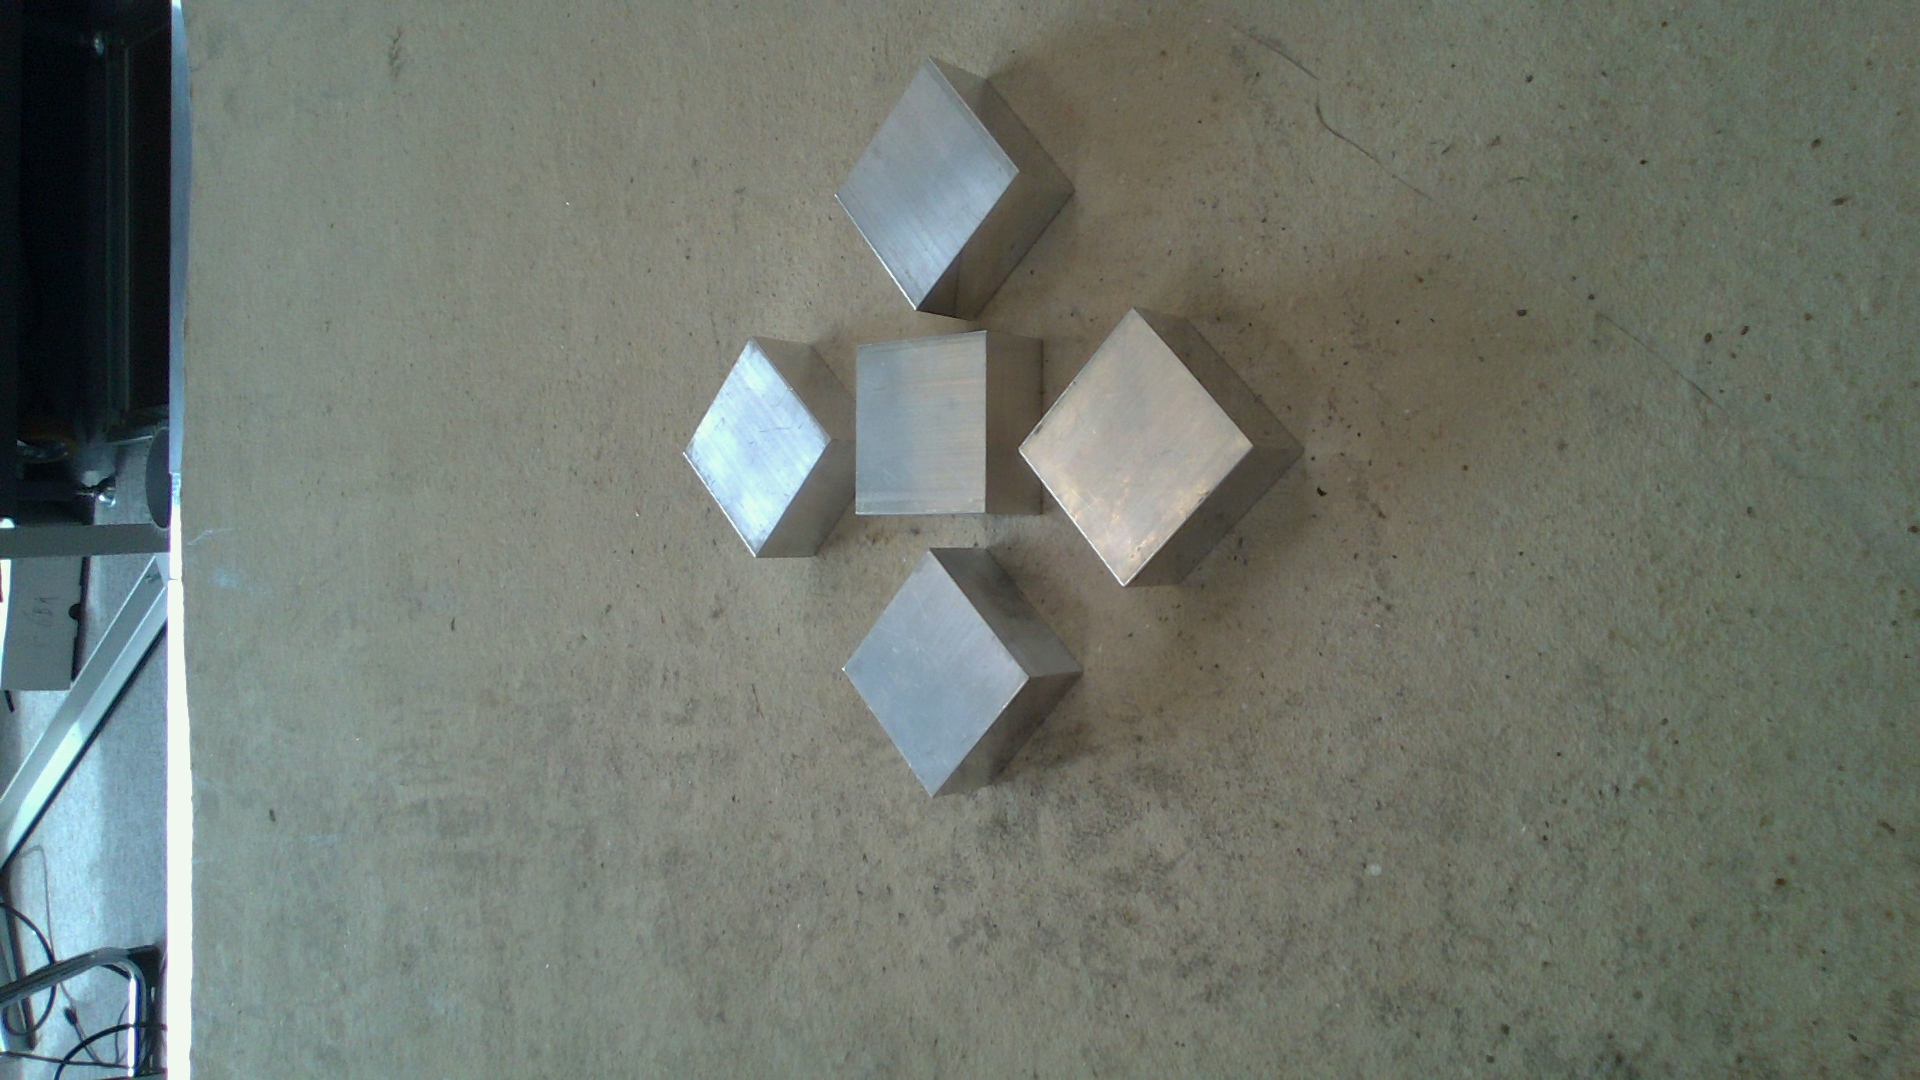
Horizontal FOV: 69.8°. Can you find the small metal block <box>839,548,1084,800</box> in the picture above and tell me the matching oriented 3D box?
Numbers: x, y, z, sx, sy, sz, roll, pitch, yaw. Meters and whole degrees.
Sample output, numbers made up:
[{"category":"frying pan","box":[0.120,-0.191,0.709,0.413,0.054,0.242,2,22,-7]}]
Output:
[{"category":"small metal block","box":[-0.001,0.038,0.396,0.050,0.025,0.050,51,119,27]}]

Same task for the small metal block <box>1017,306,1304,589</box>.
[{"category":"small metal block","box":[0.050,-0.023,0.353,0.050,0.025,0.050,-51,60,28]}]

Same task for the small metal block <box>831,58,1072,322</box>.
[{"category":"small metal block","box":[-0.004,-0.100,0.397,0.050,0.025,0.050,-48,61,29]}]

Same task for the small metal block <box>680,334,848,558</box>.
[{"category":"small metal block","box":[-0.058,-0.030,0.444,0.050,0.025,0.050,51,119,28]}]

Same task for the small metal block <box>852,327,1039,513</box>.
[{"category":"small metal block","box":[-0.005,-0.033,0.399,0.050,0.025,0.050,0,90,41]}]
